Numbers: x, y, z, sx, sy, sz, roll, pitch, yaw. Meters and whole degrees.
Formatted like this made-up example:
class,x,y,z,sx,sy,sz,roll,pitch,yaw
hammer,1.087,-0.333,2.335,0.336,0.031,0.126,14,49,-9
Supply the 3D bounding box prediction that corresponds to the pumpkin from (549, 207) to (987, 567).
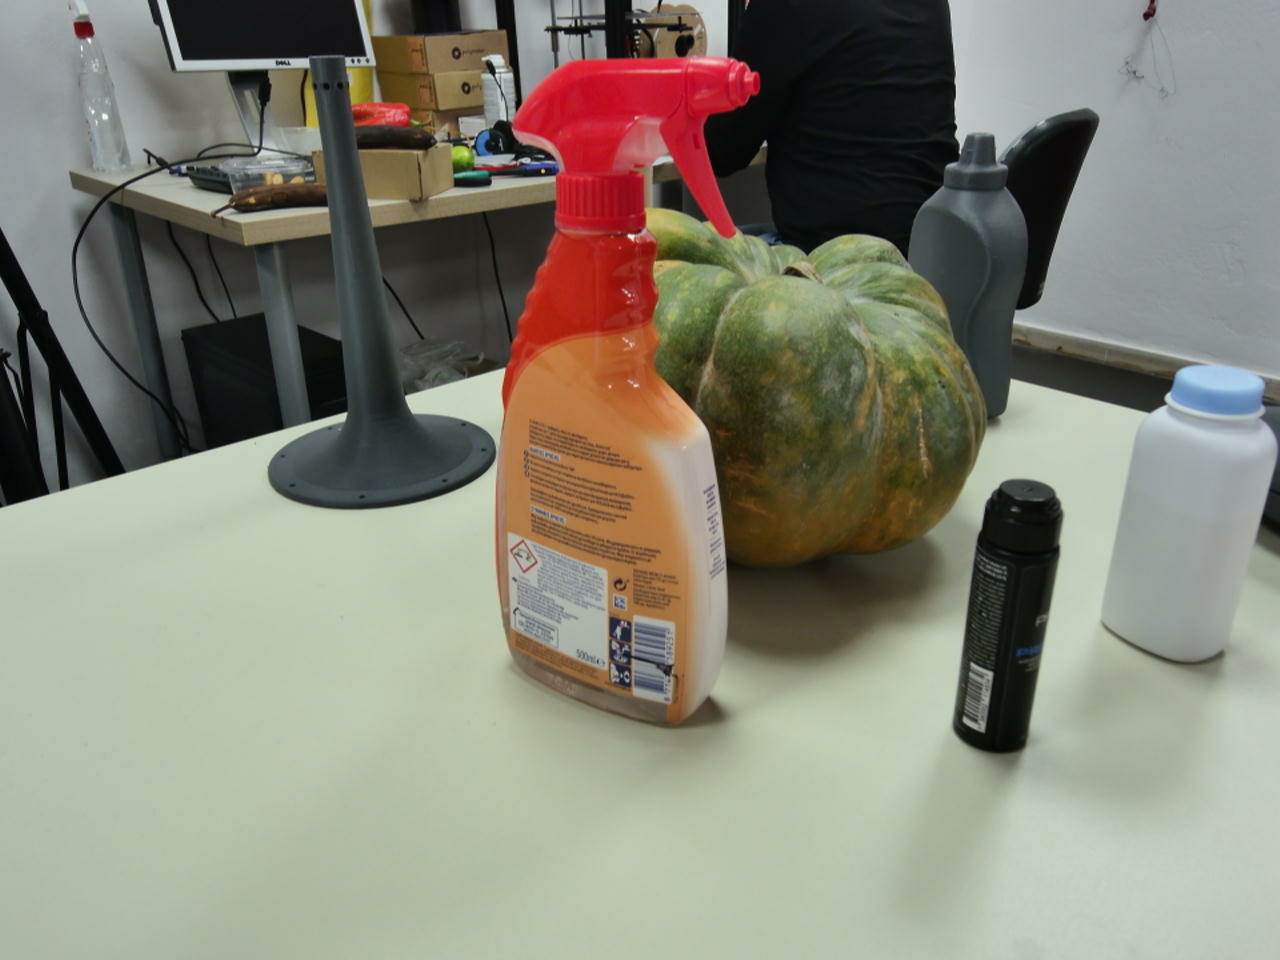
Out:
class,x,y,z,sx,sy,sz,roll,pitch,yaw
pumpkin,0.069,-0.056,0.560,0.237,0.173,0.270,-2,24,-4
